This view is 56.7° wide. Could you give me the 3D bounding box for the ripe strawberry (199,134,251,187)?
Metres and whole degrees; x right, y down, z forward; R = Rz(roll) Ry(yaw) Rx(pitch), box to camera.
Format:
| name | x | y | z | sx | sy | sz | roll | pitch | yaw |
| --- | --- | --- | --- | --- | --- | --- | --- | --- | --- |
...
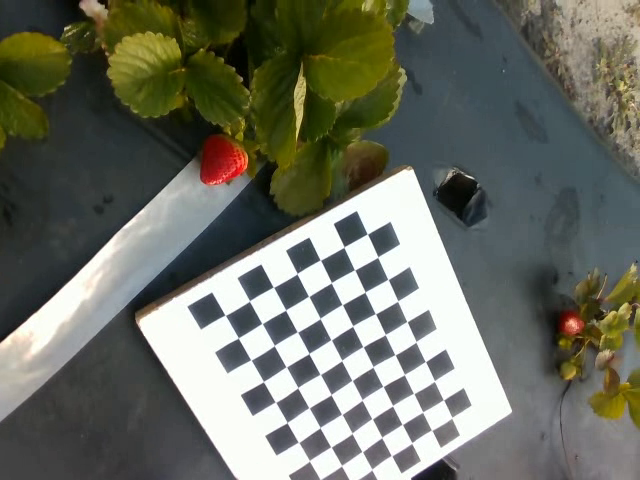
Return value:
| name | x | y | z | sx | sy | sz | roll | pitch | yaw |
| --- | --- | --- | --- | --- | --- | --- | --- | --- | --- |
| ripe strawberry | -0.075 | -0.056 | 0.449 | 0.055 | 0.050 | 0.035 | -42 | 28 | -22 |
